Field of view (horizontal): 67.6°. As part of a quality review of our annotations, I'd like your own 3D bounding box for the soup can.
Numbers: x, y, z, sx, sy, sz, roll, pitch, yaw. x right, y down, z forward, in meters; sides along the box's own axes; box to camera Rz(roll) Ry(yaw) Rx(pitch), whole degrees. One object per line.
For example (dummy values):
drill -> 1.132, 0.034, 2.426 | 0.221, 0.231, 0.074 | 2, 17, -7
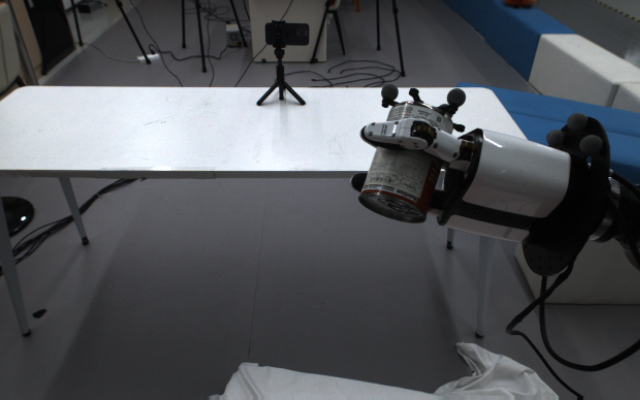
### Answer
soup can -> 0.086, -0.039, 0.480 | 0.067, 0.067, 0.101 | 16, 76, 19
